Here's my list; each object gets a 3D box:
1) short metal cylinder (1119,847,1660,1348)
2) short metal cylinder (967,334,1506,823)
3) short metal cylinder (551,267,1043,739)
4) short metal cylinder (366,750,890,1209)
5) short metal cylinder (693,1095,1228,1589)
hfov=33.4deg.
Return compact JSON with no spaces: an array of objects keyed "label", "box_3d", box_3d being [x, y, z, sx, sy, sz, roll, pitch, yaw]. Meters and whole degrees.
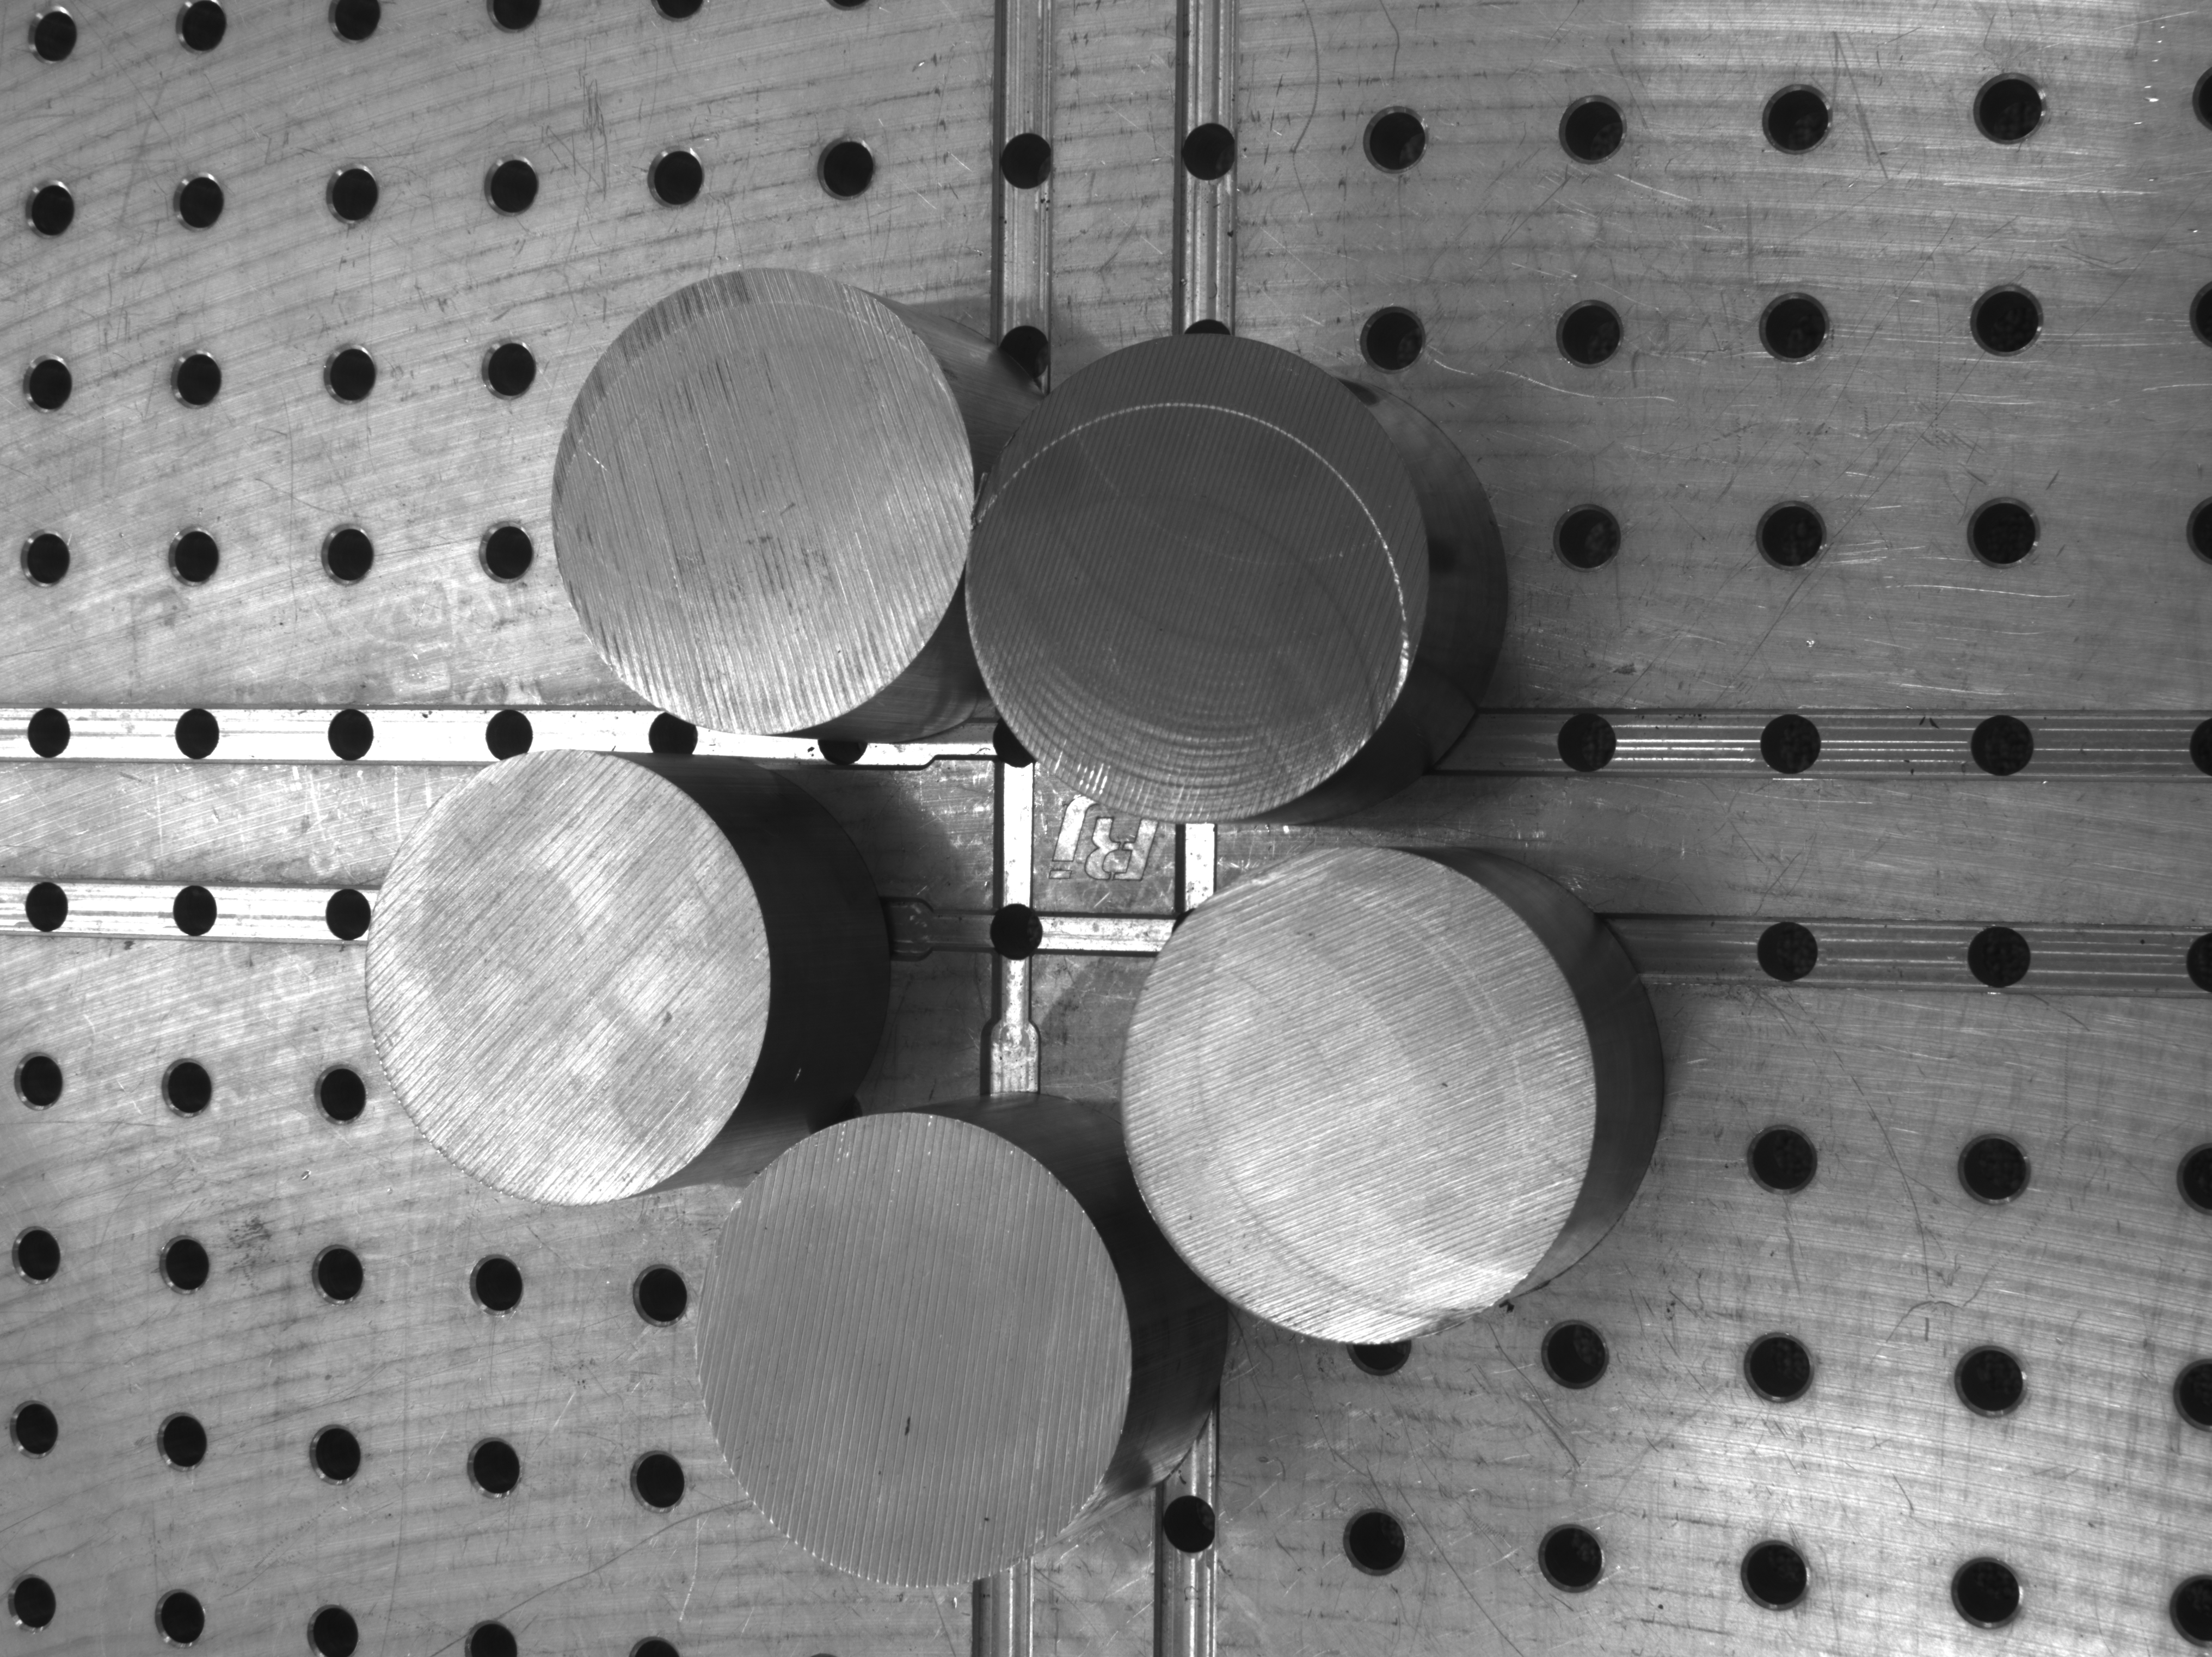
[{"label":"short metal cylinder","box_3d":[0.048,0.043,0.617,0.080,0.050,0.080,0,91,20]},{"label":"short metal cylinder","box_3d":[0.023,-0.041,0.626,0.080,0.050,0.080,0,90,20]},{"label":"short metal cylinder","box_3d":[-0.051,-0.056,0.654,0.080,0.050,0.080,0,90,20]},{"label":"short metal cylinder","box_3d":[-0.086,0.026,0.667,0.080,0.050,0.080,0,90,20]},{"label":"short metal cylinder","box_3d":[-0.025,0.088,0.643,0.080,0.050,0.080,0,89,21]}]
